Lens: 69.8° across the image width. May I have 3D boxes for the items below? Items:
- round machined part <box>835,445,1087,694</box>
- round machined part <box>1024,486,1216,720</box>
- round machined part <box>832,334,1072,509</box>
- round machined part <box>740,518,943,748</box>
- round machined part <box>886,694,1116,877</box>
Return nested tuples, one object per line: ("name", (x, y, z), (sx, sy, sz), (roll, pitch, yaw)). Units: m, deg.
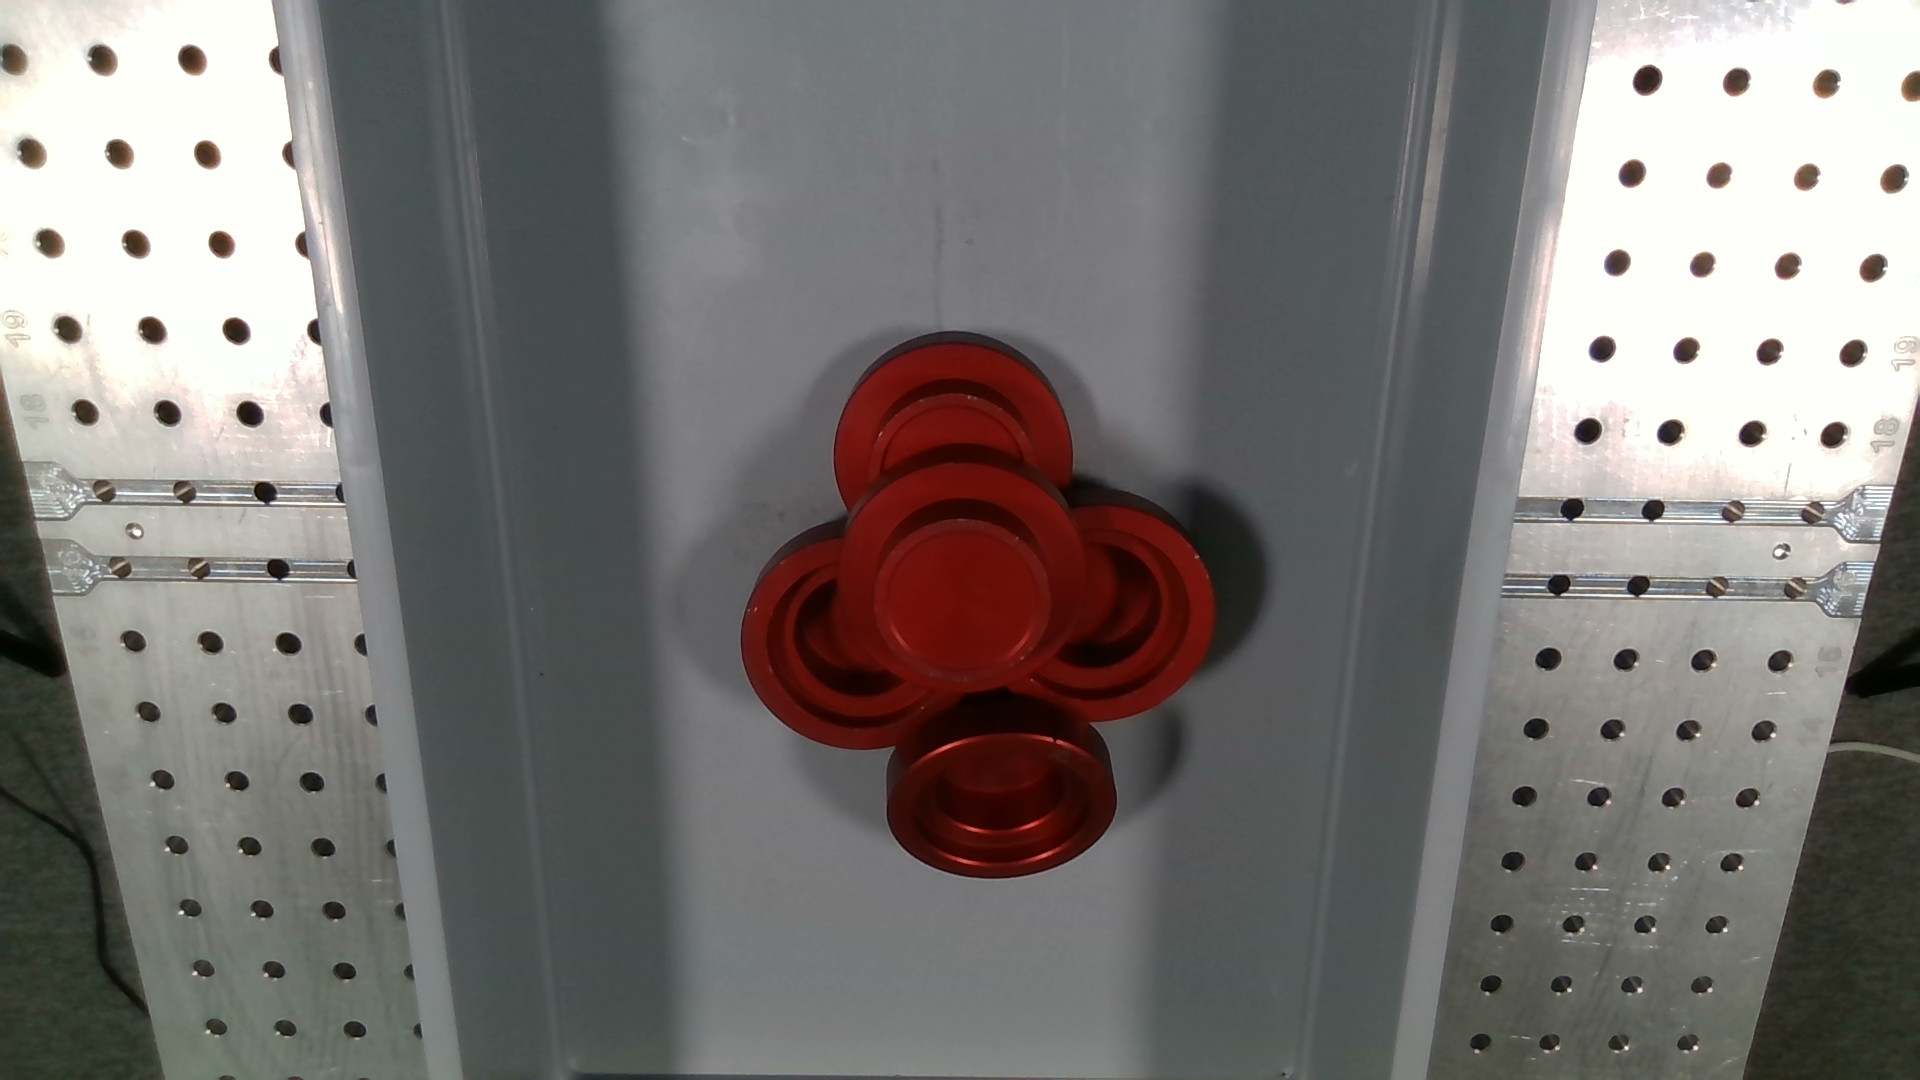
("round machined part", (0.001, 0.016, 0.534), (0.098, 0.042, 0.098), (0, 110, 0))
("round machined part", (0.056, 0.023, 0.583), (0.098, 0.042, 0.098), (0, 110, 0))
("round machined part", (-0.003, -0.033, 0.560), (0.098, 0.042, 0.098), (0, 110, 0))
("round machined part", (-0.042, 0.036, 0.587), (0.098, 0.042, 0.098), (0, 110, 0))
("round machined part", (0.017, 0.100, 0.600), (0.098, 0.042, 0.098), (-2, 131, -2))
